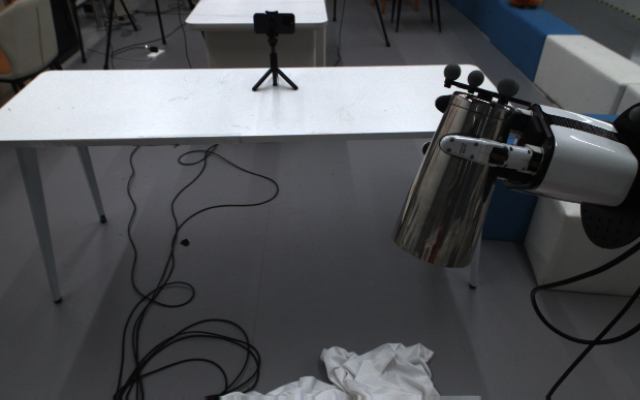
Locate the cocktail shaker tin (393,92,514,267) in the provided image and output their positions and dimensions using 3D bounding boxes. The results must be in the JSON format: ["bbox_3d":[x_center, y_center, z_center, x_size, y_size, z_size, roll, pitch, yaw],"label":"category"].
[{"bbox_3d":[0.149,-0.027,0.525,0.093,0.170,0.093,14,18,-5],"label":"cocktail shaker tin"}]
